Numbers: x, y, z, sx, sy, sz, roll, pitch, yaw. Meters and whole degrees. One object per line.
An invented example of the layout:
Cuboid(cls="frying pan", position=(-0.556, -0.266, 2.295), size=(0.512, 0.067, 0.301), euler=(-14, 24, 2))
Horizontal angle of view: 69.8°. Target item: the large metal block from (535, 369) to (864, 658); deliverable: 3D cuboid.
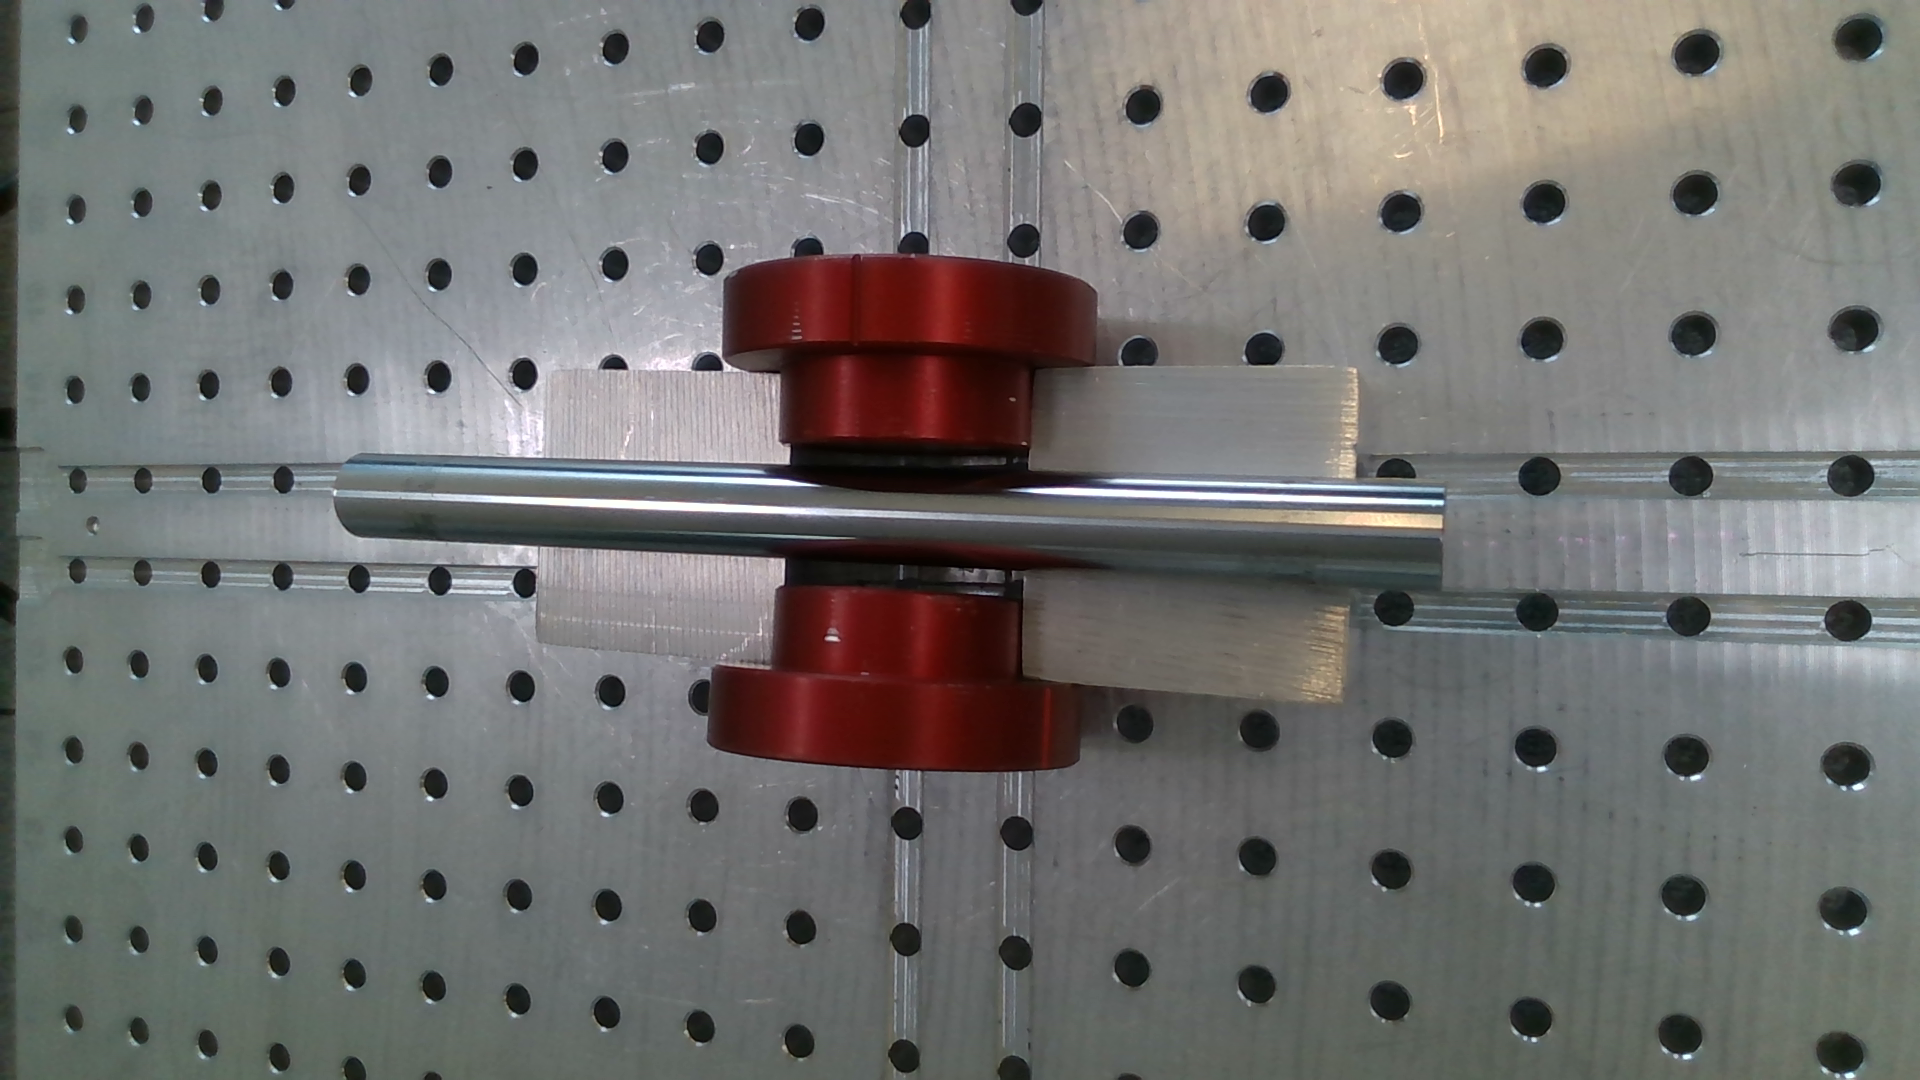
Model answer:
Cuboid(cls="large metal block", position=(-0.076, -0.008, 0.411), size=(0.080, 0.050, 0.080), euler=(3, 91, 20))

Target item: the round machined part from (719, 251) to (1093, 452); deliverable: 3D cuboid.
Cuboid(cls="round machined part", position=(-0.014, -0.045, 0.362), size=(0.098, 0.098, 0.042), euler=(2, 91, 20))

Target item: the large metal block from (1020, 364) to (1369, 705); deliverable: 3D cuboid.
Cuboid(cls="large metal block", position=(0.063, -0.003, 0.360), size=(0.080, 0.050, 0.080), euler=(2, 91, 20))

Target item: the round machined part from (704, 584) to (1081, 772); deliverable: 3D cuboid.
Cuboid(cls="round machined part", position=(-0.017, 0.035, 0.364), size=(0.098, 0.098, 0.042), euler=(2, 86, 20))

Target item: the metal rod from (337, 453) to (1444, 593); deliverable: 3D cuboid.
Cuboid(cls="metal rod", position=(-0.034, -0.007, 0.356), size=(0.300, 0.025, 0.025), euler=(3, 91, 20))
